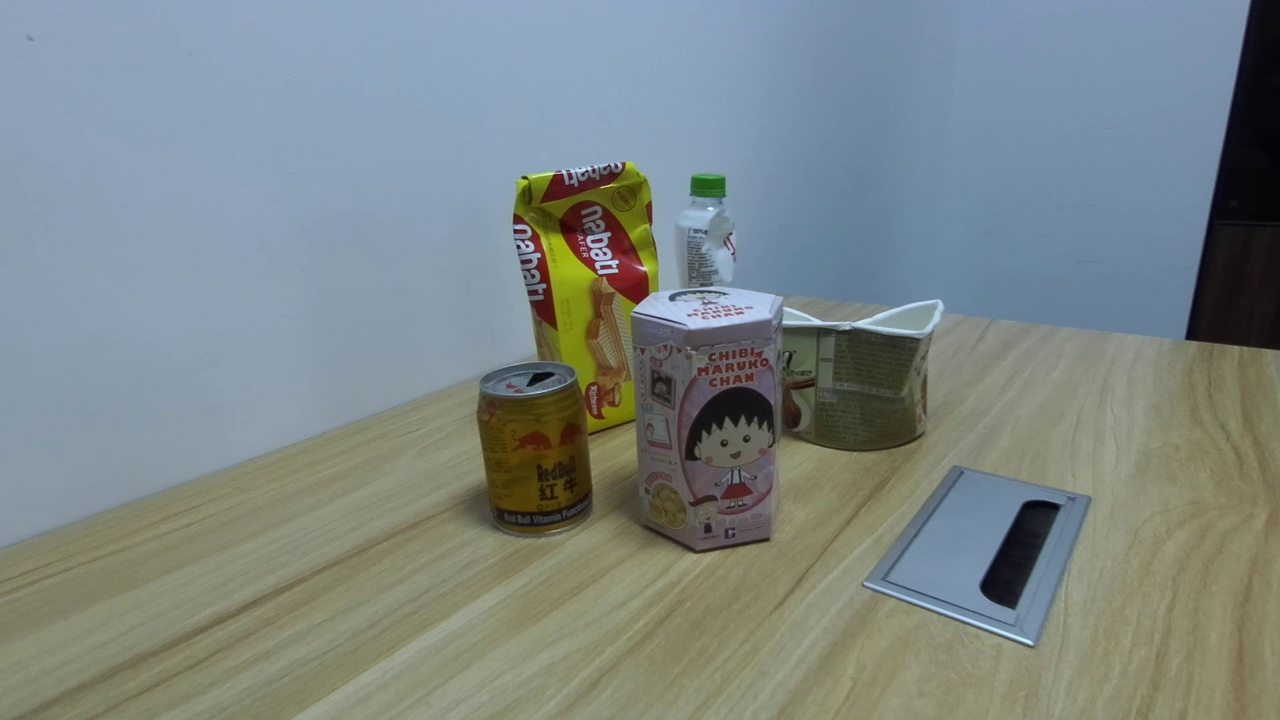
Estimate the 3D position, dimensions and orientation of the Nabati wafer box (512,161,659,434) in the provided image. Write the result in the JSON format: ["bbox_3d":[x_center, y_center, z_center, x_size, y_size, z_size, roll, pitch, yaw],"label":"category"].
[{"bbox_3d":[-0.034,-0.045,0.556,0.114,0.205,0.042,-15,18,-30],"label":"Nabati wafer box"}]

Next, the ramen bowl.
[{"bbox_3d":[0.160,0.004,0.549,0.128,0.093,0.112,6,21,25],"label":"ramen bowl"}]

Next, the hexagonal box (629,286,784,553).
[{"bbox_3d":[0.042,0.032,0.414,0.091,0.136,0.083,-7,19,-13],"label":"hexagonal box"}]

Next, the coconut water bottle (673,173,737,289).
[{"bbox_3d":[0.060,-0.071,0.644,0.069,0.187,0.069,-1,14,1],"label":"coconut water bottle"}]
